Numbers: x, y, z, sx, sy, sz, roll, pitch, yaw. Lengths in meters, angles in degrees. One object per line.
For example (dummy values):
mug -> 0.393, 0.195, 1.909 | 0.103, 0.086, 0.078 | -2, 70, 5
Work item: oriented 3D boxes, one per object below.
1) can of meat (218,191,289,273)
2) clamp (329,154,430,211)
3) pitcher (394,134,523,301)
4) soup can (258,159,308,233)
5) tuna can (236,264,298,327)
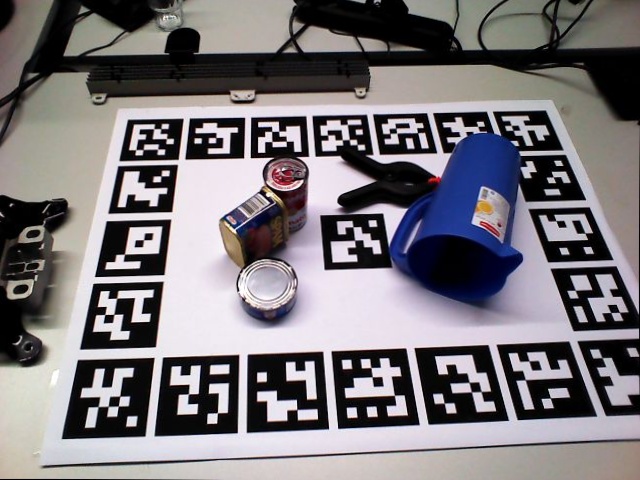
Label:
can of meat -> -0.097, -0.008, 0.744 | 0.083, 0.102, 0.058 | -35, 65, -18
clamp -> 0.099, -0.095, 0.860 | 0.165, 0.037, 0.121 | 1, 52, -4
pitcher -> 0.219, -0.042, 0.752 | 0.190, 0.133, 0.240 | 2, 46, 27
soup can -> -0.054, -0.064, 0.787 | 0.068, 0.102, 0.067 | -1, 58, 1
tuna can -> -0.074, 0.078, 0.730 | 0.086, 0.034, 0.085 | 0, 58, -1
